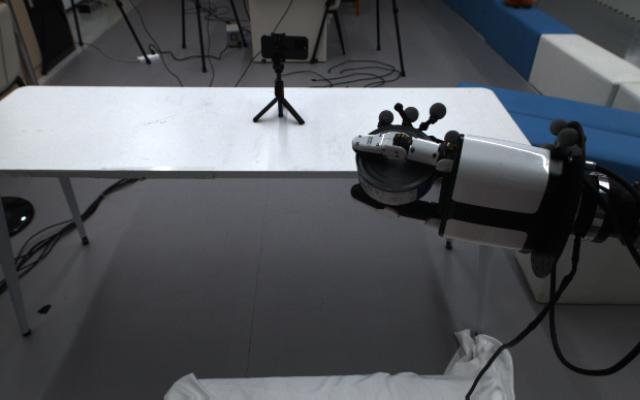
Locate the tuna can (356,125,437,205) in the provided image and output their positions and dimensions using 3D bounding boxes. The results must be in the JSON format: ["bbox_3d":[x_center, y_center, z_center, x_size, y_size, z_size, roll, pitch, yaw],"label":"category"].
[{"bbox_3d":[0.083,-0.042,0.521,0.085,0.034,0.085,-4,55,6],"label":"tuna can"}]
